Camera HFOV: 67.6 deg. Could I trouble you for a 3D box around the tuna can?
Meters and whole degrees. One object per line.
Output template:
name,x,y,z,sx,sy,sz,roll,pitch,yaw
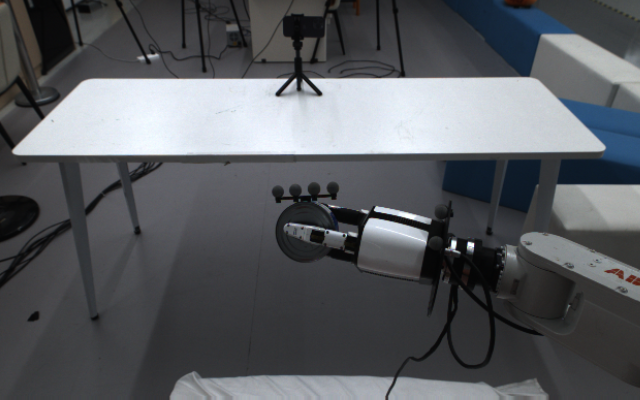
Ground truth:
tuna can,-0.015,0.048,0.678,0.085,0.085,0.034,10,3,11
